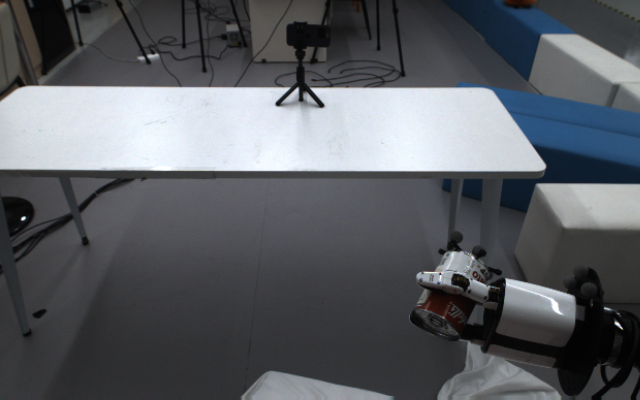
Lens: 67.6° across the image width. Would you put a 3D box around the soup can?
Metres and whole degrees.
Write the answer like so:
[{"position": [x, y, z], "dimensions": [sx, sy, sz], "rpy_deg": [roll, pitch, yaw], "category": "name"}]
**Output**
[{"position": [0.175, 0.123, 0.640], "dimensions": [0.067, 0.067, 0.101], "rpy_deg": [23, 60, 27], "category": "soup can"}]
